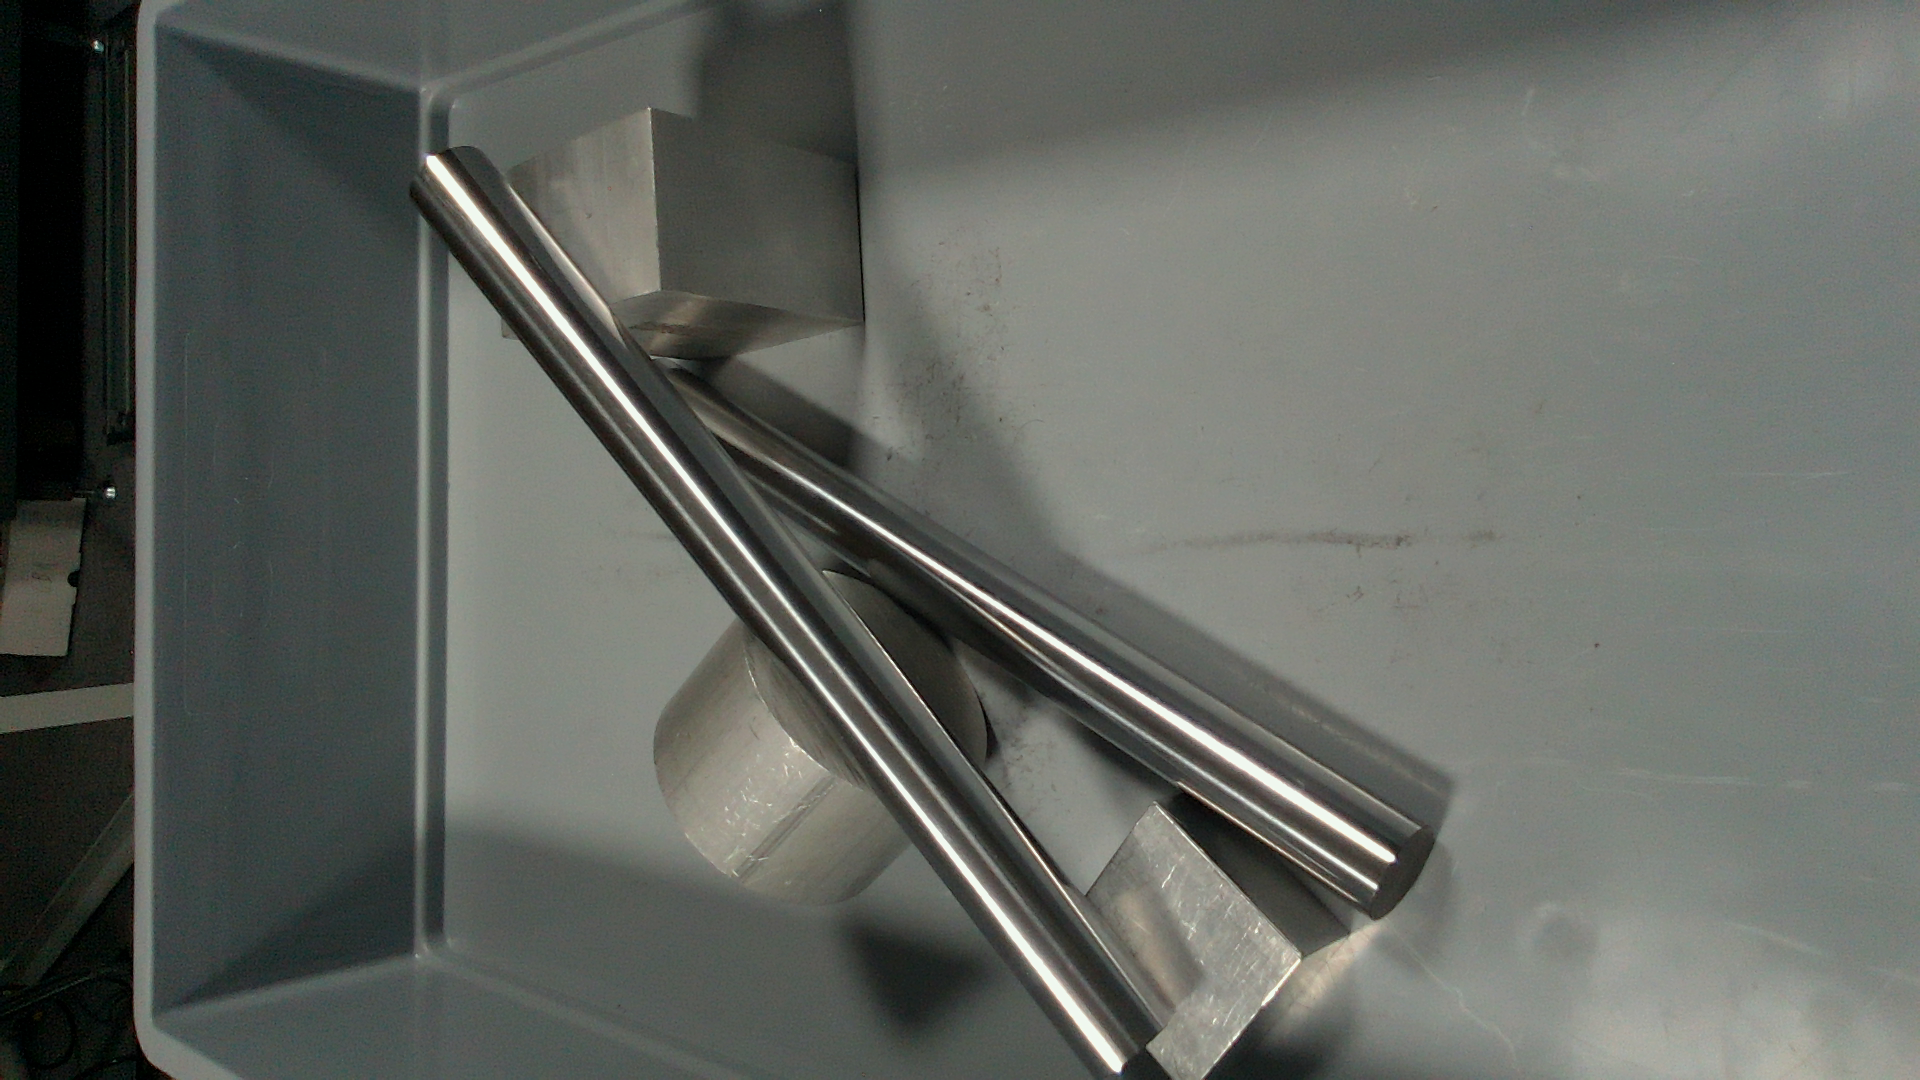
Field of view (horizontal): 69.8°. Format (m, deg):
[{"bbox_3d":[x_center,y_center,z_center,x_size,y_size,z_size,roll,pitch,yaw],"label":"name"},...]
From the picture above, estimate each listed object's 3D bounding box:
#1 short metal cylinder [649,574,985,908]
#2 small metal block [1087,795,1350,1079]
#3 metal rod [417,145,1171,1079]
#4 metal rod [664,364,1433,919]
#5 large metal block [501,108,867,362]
[{"bbox_3d":[-0.040,0.056,0.390,0.050,0.080,0.080,-48,62,30],"label":"short metal cylinder"},{"bbox_3d":[0.059,0.100,0.344,0.050,0.025,0.050,45,117,31],"label":"small metal block"},{"bbox_3d":[-0.052,0.008,0.361,0.300,0.025,0.025,50,121,14],"label":"metal rod"},{"bbox_3d":[-0.004,0.011,0.397,0.299,0.025,0.025,32,110,36],"label":"metal rod"},{"bbox_3d":[-0.087,-0.091,0.431,0.080,0.080,0.050,-5,87,40],"label":"large metal block"}]
